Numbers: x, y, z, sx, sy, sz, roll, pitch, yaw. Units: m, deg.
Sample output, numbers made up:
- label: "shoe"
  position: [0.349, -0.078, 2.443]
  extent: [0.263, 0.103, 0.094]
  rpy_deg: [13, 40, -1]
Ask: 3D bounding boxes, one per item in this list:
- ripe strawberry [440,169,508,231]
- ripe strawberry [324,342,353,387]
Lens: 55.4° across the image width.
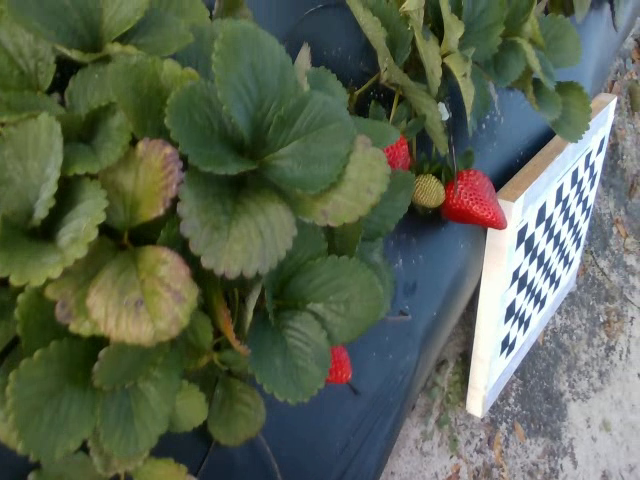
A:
- label: "ripe strawberry"
  position: [0.056, -0.011, 0.207]
  extent: [0.022, 0.030, 0.025]
  rpy_deg: [-30, -36, -10]
- label: "ripe strawberry"
  position: [0.001, 0.032, 0.158]
  extent: [0.021, 0.018, 0.016]
  rpy_deg: [42, -23, -12]
